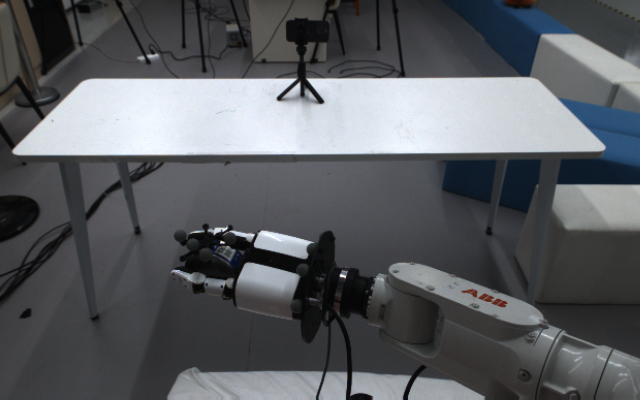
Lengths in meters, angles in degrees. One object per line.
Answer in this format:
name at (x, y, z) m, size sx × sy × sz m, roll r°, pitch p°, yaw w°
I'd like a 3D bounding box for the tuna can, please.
tuna can at (-0.149, 0.100, 0.706) m, size 0.085 × 0.085 × 0.034 m, roll 10°, pitch 38°, yaw 12°
